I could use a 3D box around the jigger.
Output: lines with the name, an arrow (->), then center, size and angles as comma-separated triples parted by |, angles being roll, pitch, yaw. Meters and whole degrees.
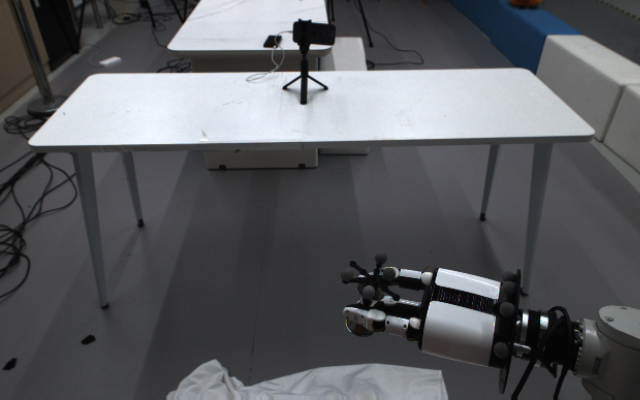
jigger -> 0.063, 0.150, 0.678 | 0.043, 0.071, 0.043 | 9, 30, -5
